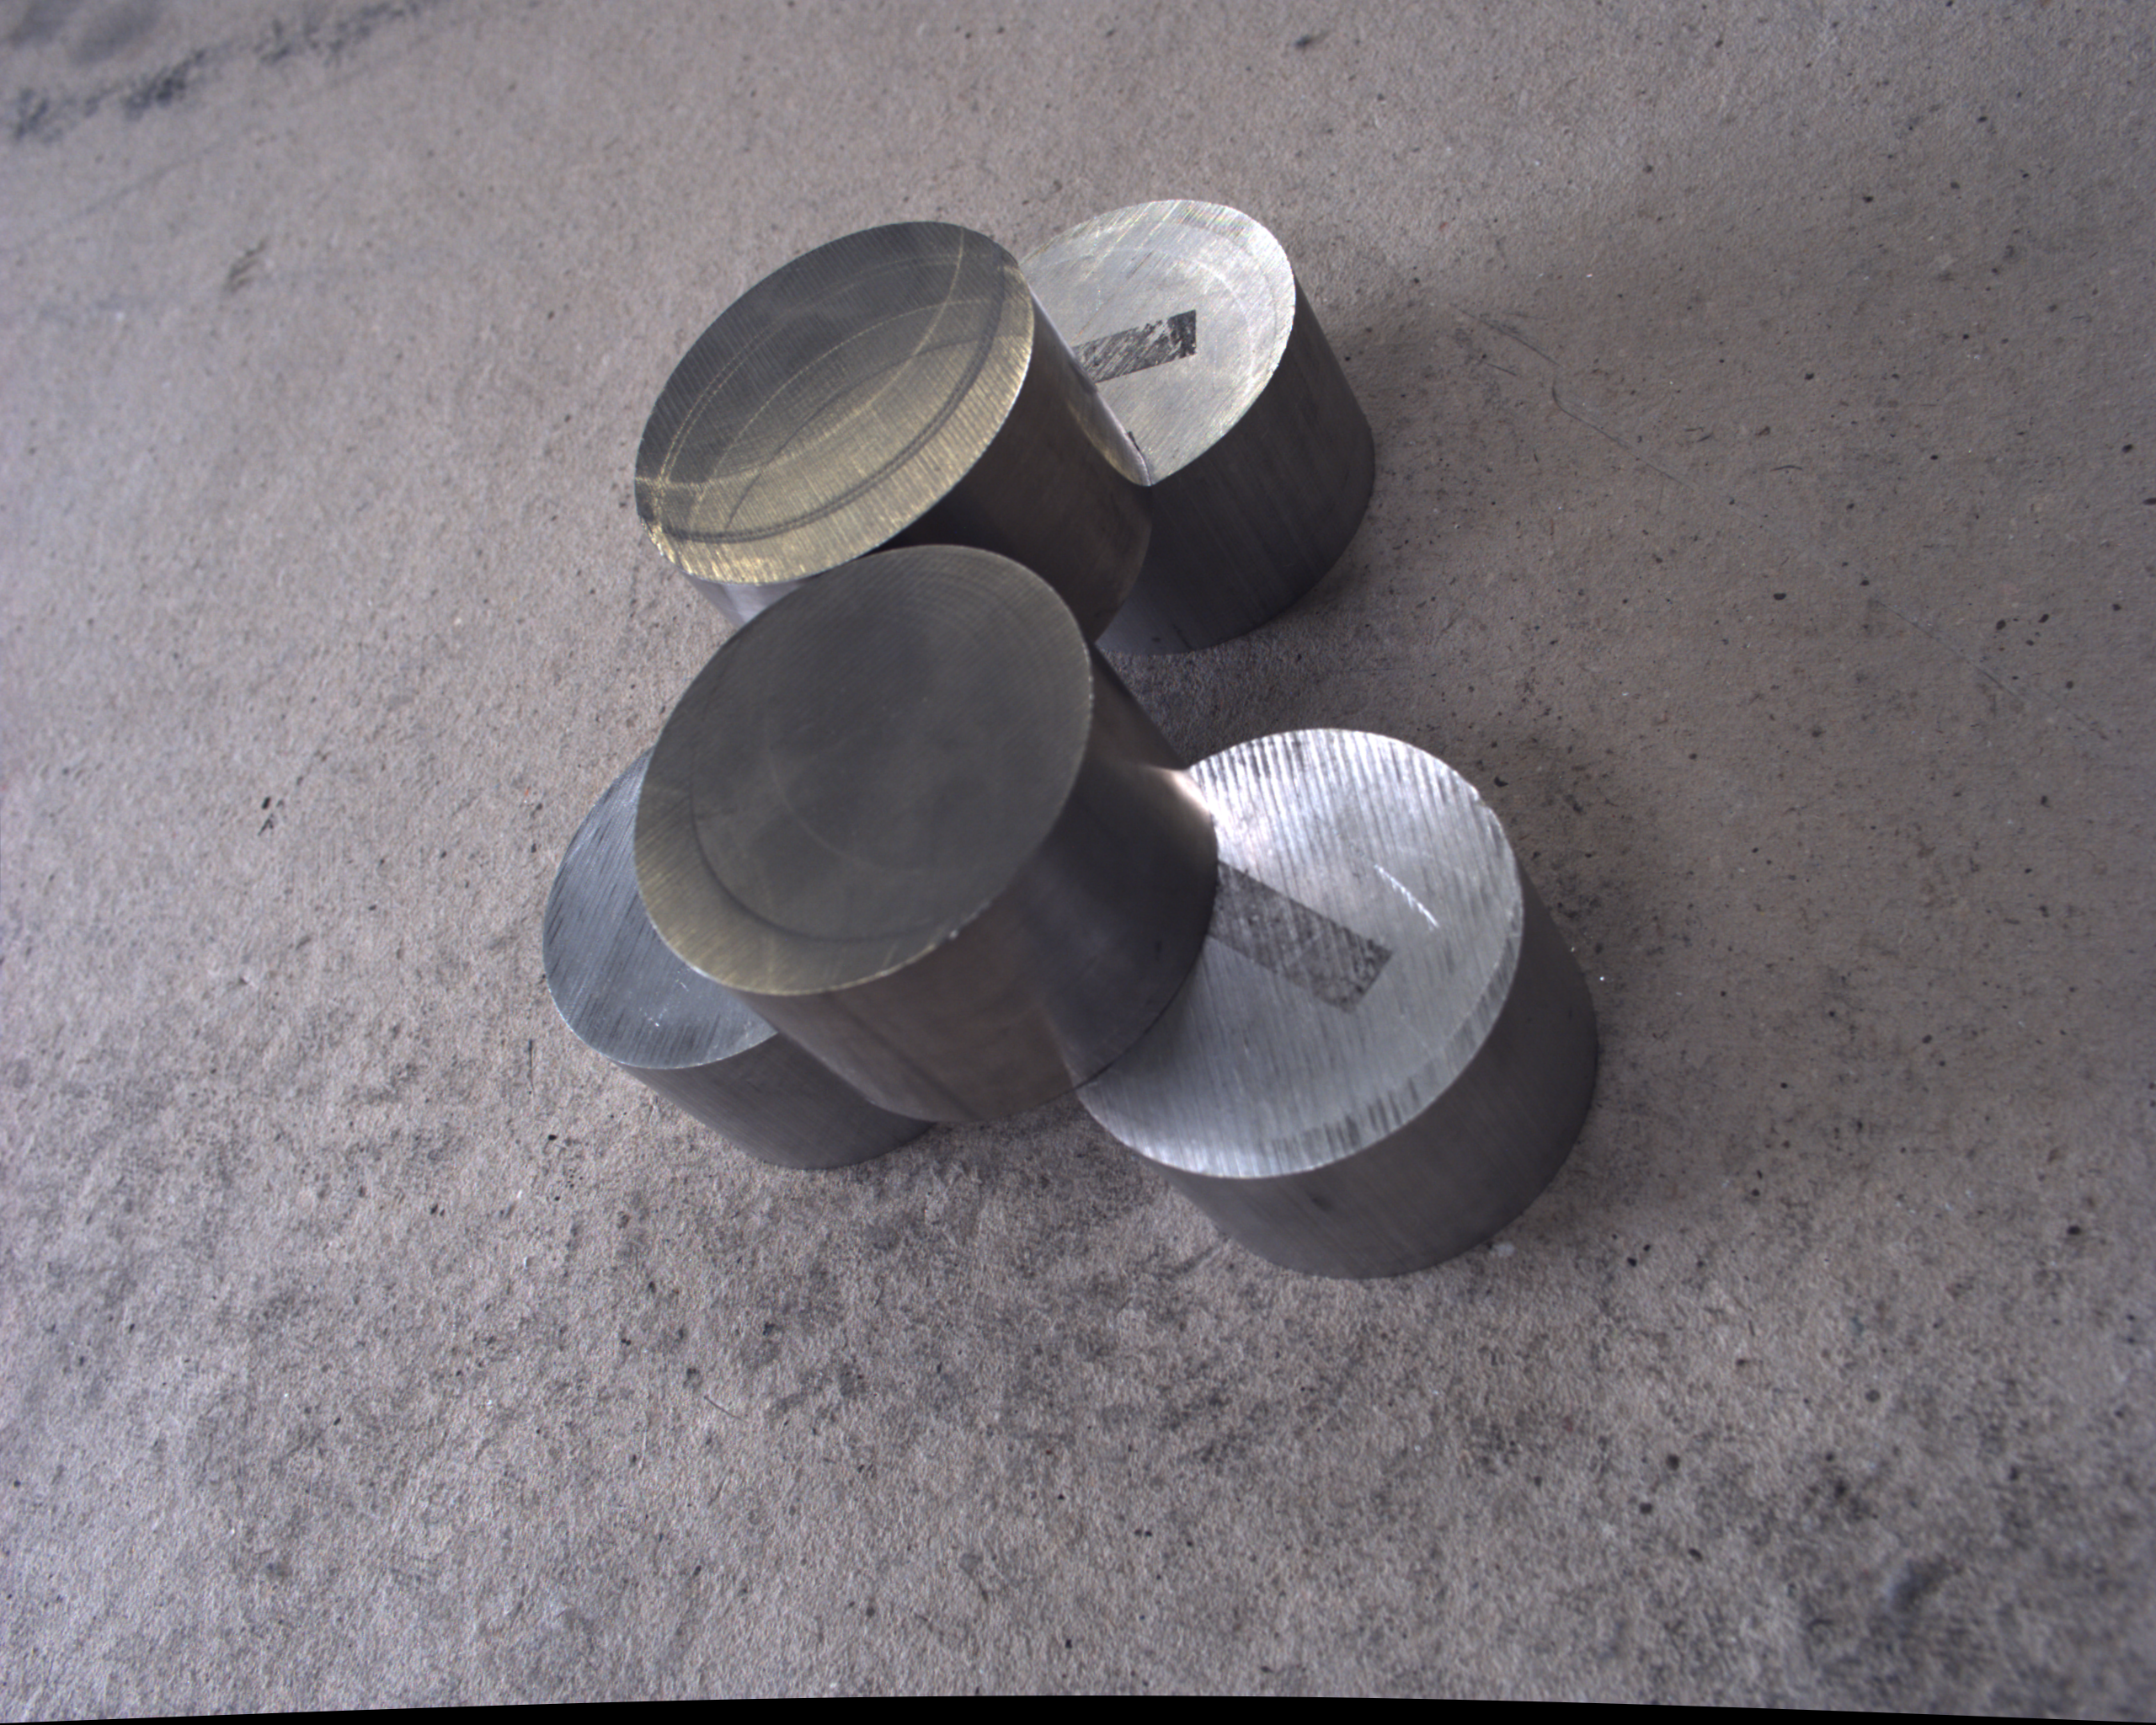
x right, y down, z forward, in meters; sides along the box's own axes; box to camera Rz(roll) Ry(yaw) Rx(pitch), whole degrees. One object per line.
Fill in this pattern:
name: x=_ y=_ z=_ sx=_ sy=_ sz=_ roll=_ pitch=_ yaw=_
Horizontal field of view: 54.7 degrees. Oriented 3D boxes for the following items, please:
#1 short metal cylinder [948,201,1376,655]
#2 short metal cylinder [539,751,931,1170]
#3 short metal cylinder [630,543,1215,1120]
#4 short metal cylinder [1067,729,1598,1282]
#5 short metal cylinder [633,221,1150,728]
short metal cylinder: x=0.016 y=-0.091 z=0.437 sx=0.080 sy=0.050 sz=0.080 roll=-13 pitch=56 yaw=21
short metal cylinder: x=-0.057 y=0.014 z=0.411 sx=0.080 sy=0.050 sz=0.080 roll=-13 pitch=56 yaw=21
short metal cylinder: x=-0.024 y=-0.005 z=0.340 sx=0.080 sy=0.050 sz=0.080 roll=-13 pitch=56 yaw=20
short metal cylinder: x=0.042 y=0.024 z=0.352 sx=0.080 sy=0.050 sz=0.080 roll=-13 pitch=56 yaw=21
short metal cylinder: x=-0.034 y=-0.070 z=0.385 sx=0.080 sy=0.050 sz=0.080 roll=-13 pitch=56 yaw=21
